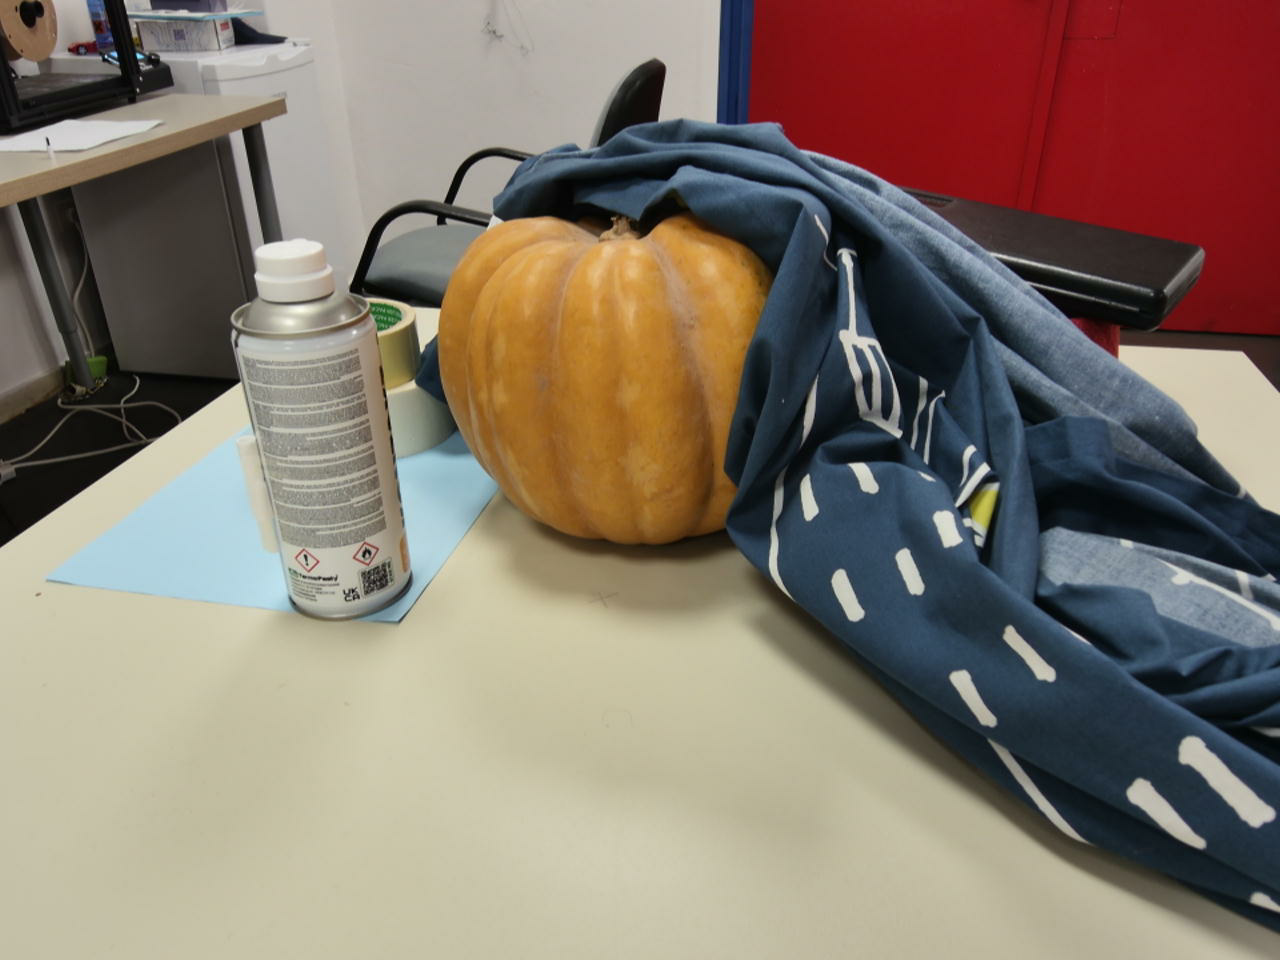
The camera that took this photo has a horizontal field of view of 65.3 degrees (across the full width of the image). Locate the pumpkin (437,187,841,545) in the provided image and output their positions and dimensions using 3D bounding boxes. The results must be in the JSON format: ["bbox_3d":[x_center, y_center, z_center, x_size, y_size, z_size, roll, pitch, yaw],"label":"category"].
[{"bbox_3d":[0.003,-0.067,0.577,0.230,0.194,0.230,0,26,0],"label":"pumpkin"}]
